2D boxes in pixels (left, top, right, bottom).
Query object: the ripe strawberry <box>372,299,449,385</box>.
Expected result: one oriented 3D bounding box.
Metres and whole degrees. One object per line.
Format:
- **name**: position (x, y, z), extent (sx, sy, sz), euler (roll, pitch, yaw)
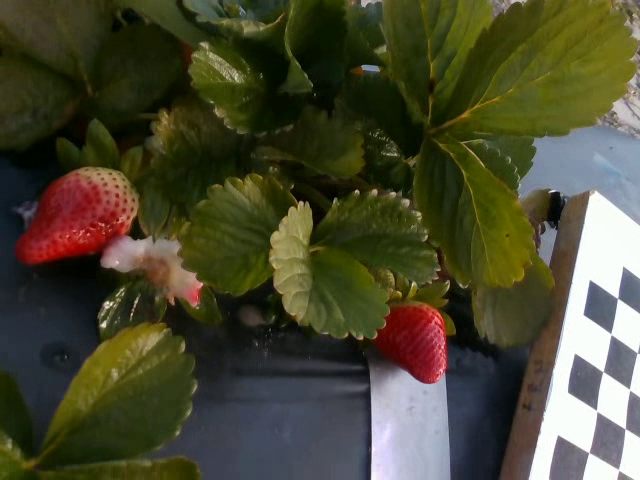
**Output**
- **ripe strawberry**: position (0.047, 0.050, 0.281), extent (0.050, 0.055, 0.035), euler (30, -45, -26)
